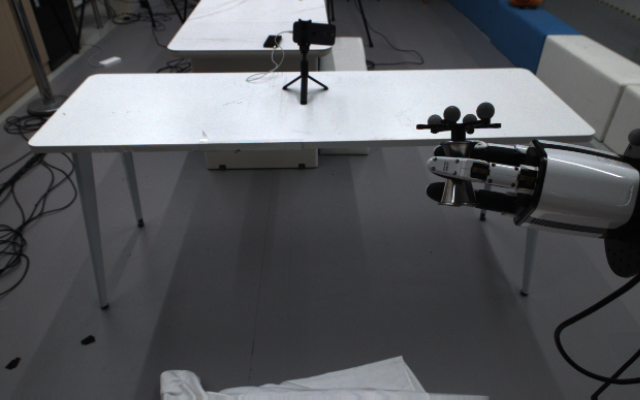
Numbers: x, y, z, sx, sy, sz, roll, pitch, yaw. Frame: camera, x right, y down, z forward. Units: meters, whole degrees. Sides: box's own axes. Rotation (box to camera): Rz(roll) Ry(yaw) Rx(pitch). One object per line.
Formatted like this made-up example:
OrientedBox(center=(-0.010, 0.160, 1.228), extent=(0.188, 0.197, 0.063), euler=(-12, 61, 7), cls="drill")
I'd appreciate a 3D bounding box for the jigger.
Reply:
OrientedBox(center=(0.151, -0.029, 0.532), extent=(0.043, 0.071, 0.043), euler=(-1, 2, 0), cls="jigger")
